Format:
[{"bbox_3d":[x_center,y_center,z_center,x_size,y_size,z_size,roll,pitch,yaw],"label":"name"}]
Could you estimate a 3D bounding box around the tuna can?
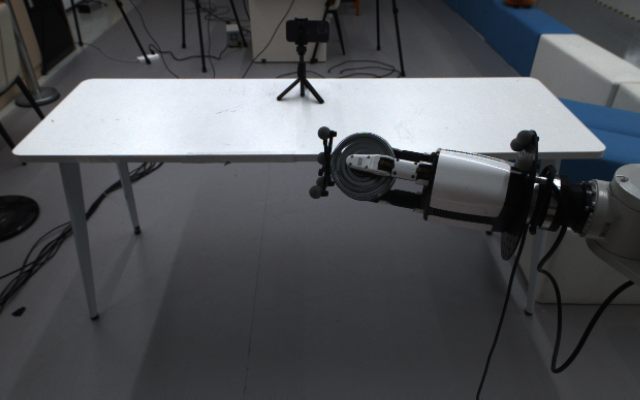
[{"bbox_3d":[0.060,-0.041,0.624,0.085,0.085,0.034,9,-7,10],"label":"tuna can"}]
